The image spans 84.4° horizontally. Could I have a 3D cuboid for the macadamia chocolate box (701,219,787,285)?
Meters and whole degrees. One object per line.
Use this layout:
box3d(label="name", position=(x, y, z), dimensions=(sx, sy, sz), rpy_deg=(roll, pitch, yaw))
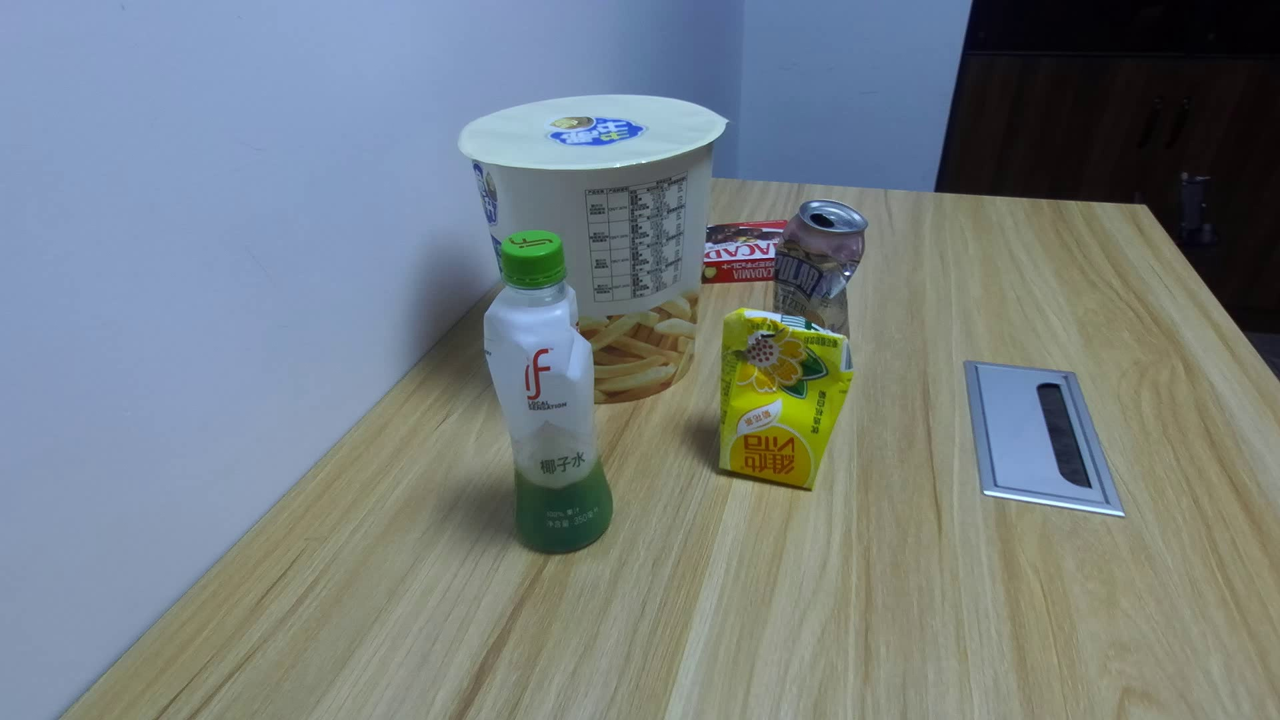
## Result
box3d(label="macadamia chocolate box", position=(0.073, -0.113, 0.741), dimensions=(0.183, 0.028, 0.105), rpy_deg=(-3, 33, -1))

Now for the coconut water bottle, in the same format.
box3d(label="coconut water bottle", position=(-0.050, 0.021, 0.396), dimensions=(0.069, 0.186, 0.069), rpy_deg=(-2, 34, 1))

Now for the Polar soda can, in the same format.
box3d(label="Polar soda can", position=(0.150, -0.063, 0.576), dimensions=(0.067, 0.122, 0.070), rpy_deg=(-13, 34, -26))

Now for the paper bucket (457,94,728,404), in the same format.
box3d(label="paper bucket", position=(-0.030, -0.086, 0.555), dimensions=(0.198, 0.195, 0.198), rpy_deg=(-2, 34, 2))

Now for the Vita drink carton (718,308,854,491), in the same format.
box3d(label="Vita drink carton", position=(0.091, 0.022, 0.460), dimensions=(0.087, 0.108, 0.042), rpy_deg=(12, 22, 14))
